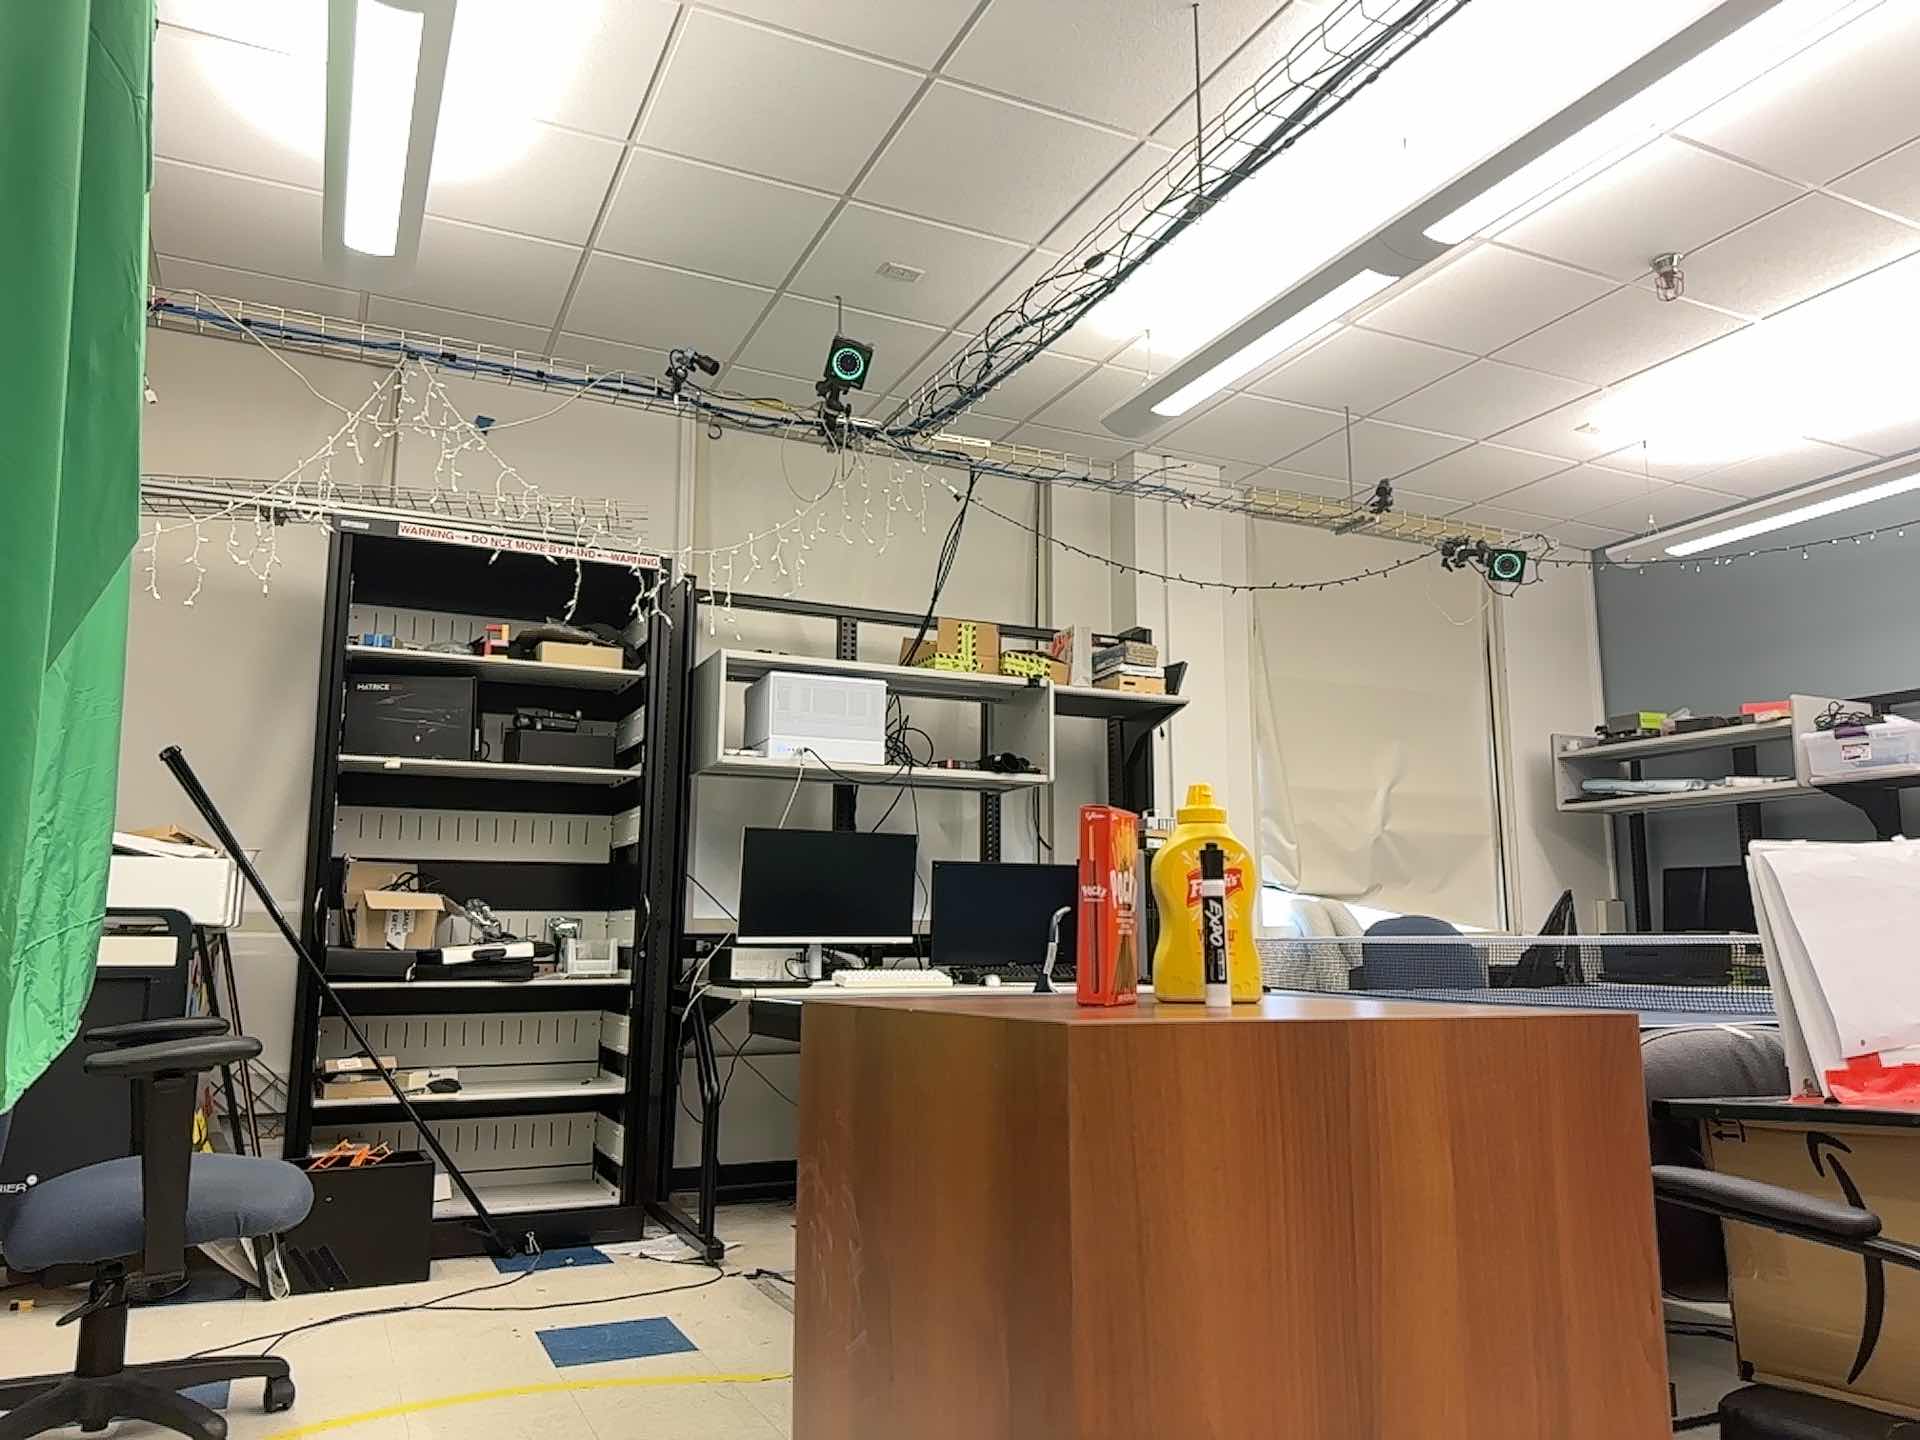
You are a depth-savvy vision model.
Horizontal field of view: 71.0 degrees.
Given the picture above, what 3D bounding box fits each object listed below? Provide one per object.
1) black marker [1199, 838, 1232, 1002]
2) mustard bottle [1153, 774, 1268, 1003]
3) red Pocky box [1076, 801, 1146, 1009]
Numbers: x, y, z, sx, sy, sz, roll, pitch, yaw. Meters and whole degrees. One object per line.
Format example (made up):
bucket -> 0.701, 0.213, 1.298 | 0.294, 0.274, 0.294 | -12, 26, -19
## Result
black marker -> 0.191, 0.149, 1.009 | 0.020, 0.121, 0.020 | 0, -12, 0
mustard bottle -> 0.202, 0.136, 1.104 | 0.092, 0.184, 0.054 | 1, -8, -5
red Pocky box -> 0.116, 0.141, 1.033 | 0.028, 0.155, 0.083 | -3, -8, 29
